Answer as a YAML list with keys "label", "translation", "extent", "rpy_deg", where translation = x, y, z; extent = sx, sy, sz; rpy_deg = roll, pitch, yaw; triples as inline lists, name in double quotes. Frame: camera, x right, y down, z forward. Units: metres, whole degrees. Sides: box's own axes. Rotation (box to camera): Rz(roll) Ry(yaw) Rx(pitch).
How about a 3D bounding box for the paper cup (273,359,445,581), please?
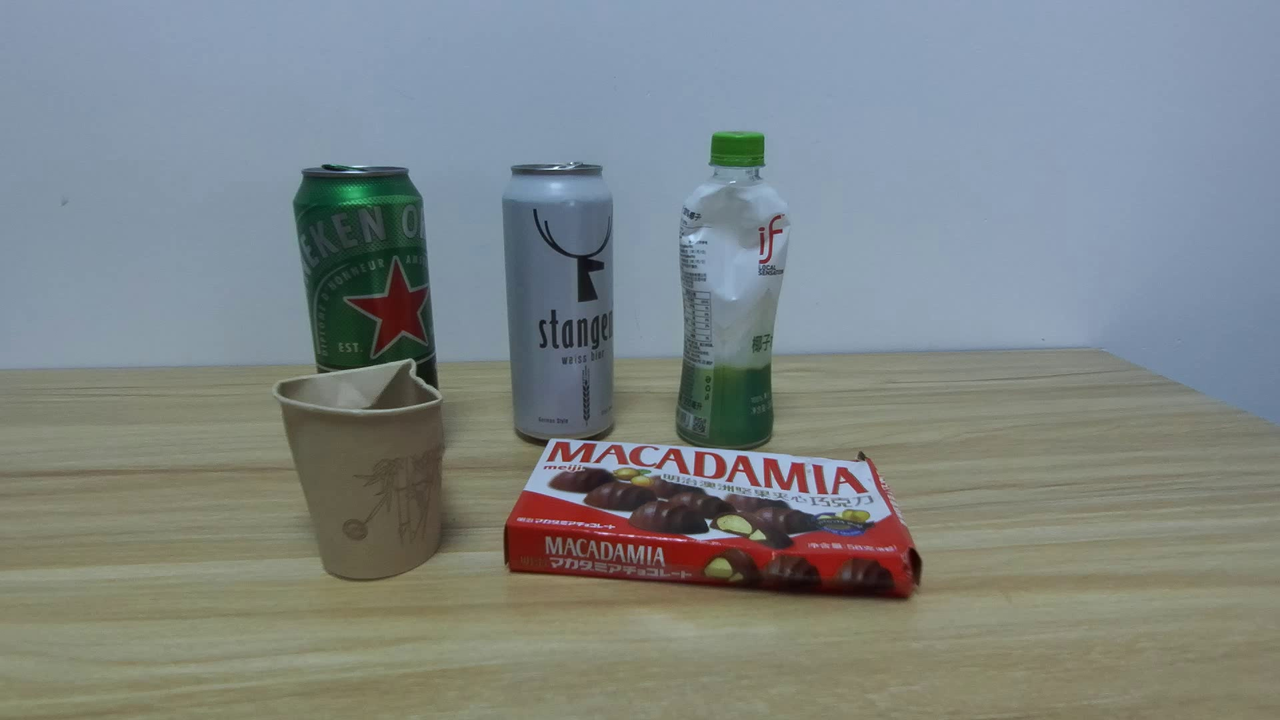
- label: "paper cup"
  translation: [-0.126, 0.058, 0.331]
  extent: [0.066, 0.084, 0.071]
  rpy_deg: [-5, 1, -21]

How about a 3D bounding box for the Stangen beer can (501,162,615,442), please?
- label: "Stangen beer can"
  translation: [-0.050, -0.034, 0.444]
  extent: [0.067, 0.171, 0.067]
  rpy_deg: [0, 15, 0]

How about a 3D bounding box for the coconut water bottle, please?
- label: "coconut water bottle"
  translation: [0.056, -0.042, 0.432]
  extent: [0.069, 0.187, 0.069]
  rpy_deg: [2, 18, 0]

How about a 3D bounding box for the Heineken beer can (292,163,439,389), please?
- label: "Heineken beer can"
  translation: [-0.151, -0.021, 0.402]
  extent: [0.067, 0.169, 0.067]
  rpy_deg: [0, 17, 0]

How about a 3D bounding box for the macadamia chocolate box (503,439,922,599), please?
- label: "macadamia chocolate box"
  translation: [0.035, 0.074, 0.350]
  extent: [0.183, 0.028, 0.106]
  rpy_deg: [3, 19, 3]
